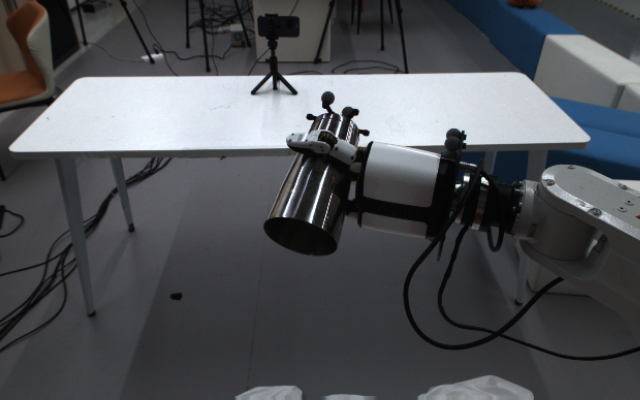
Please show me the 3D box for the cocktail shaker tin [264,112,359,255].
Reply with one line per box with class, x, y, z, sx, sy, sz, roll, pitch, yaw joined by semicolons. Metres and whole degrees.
cocktail shaker tin;0.000;-0.025;0.611;0.093;0.093;0.170;11;60;12
